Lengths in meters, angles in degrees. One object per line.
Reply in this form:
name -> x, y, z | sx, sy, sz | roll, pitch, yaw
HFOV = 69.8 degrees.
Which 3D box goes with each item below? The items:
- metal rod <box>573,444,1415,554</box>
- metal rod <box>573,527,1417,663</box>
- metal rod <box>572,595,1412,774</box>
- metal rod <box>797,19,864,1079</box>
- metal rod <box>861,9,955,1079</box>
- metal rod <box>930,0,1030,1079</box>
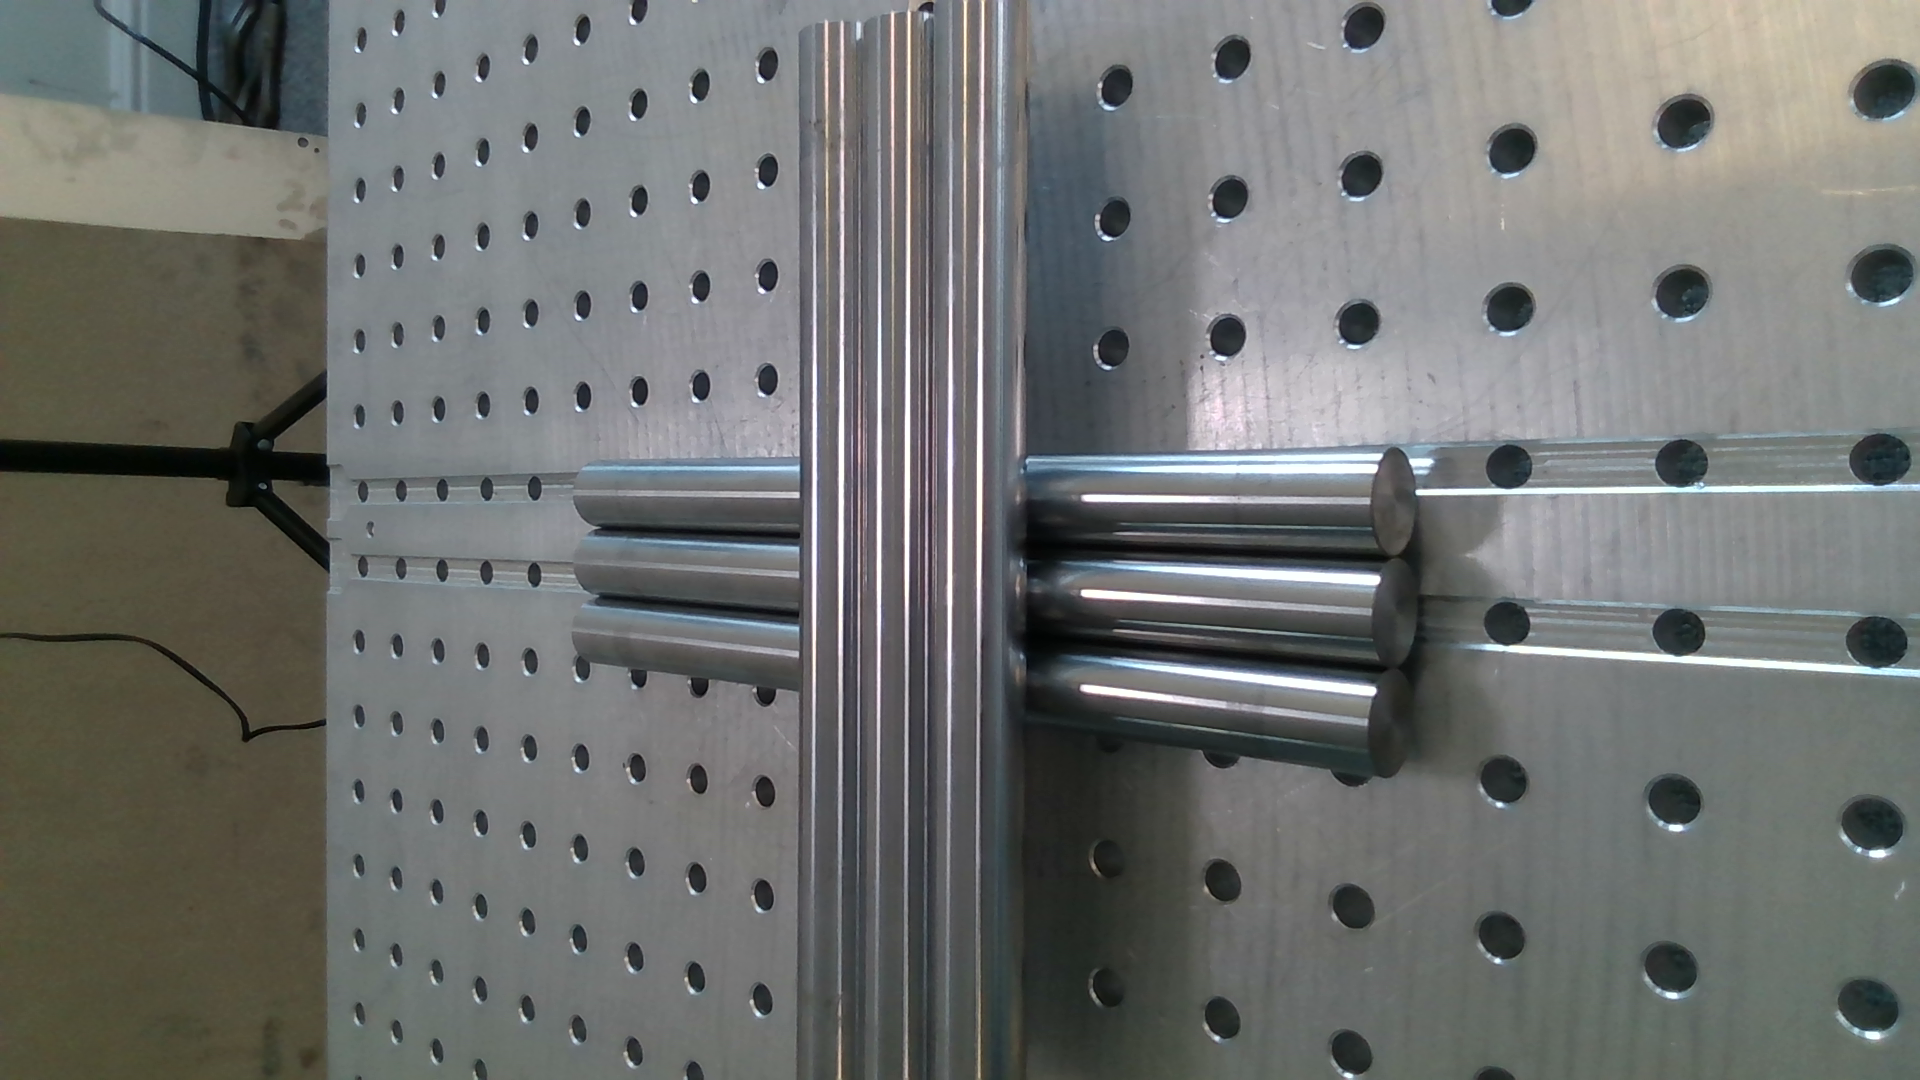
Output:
metal rod -> -0.017, -0.014, 0.407 | 0.300, 0.025, 0.025 | 2, 92, 40
metal rod -> -0.016, 0.011, 0.407 | 0.300, 0.025, 0.025 | 2, 92, 40
metal rod -> -0.017, 0.036, 0.408 | 0.300, 0.025, 0.025 | 2, 92, 40
metal rod -> -0.033, 0.008, 0.389 | 0.025, 0.025, 0.300 | 1, 91, 40
metal rod -> -0.014, 0.012, 0.373 | 0.025, 0.025, 0.300 | 1, 91, 40
metal rod -> 0.005, 0.012, 0.357 | 0.025, 0.025, 0.300 | 1, 91, 40
